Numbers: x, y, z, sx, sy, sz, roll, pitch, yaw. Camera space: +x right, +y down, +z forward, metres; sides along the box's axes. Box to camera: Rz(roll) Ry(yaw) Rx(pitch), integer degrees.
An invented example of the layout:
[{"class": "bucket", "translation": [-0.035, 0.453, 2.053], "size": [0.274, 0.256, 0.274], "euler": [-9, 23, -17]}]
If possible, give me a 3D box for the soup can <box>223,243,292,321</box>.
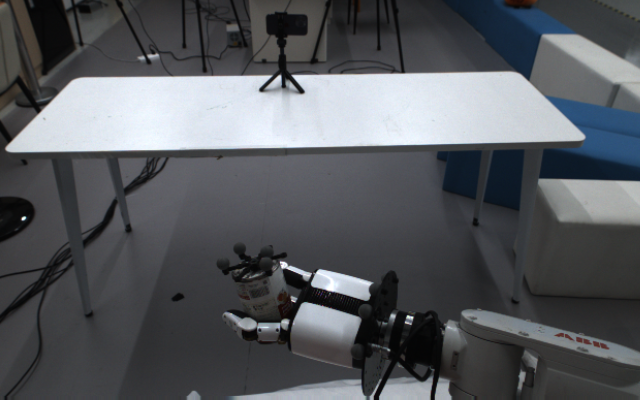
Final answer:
[{"class": "soup can", "translation": [-0.073, 0.135, 0.656], "size": [0.067, 0.101, 0.067], "euler": [-13, 19, 4]}]
